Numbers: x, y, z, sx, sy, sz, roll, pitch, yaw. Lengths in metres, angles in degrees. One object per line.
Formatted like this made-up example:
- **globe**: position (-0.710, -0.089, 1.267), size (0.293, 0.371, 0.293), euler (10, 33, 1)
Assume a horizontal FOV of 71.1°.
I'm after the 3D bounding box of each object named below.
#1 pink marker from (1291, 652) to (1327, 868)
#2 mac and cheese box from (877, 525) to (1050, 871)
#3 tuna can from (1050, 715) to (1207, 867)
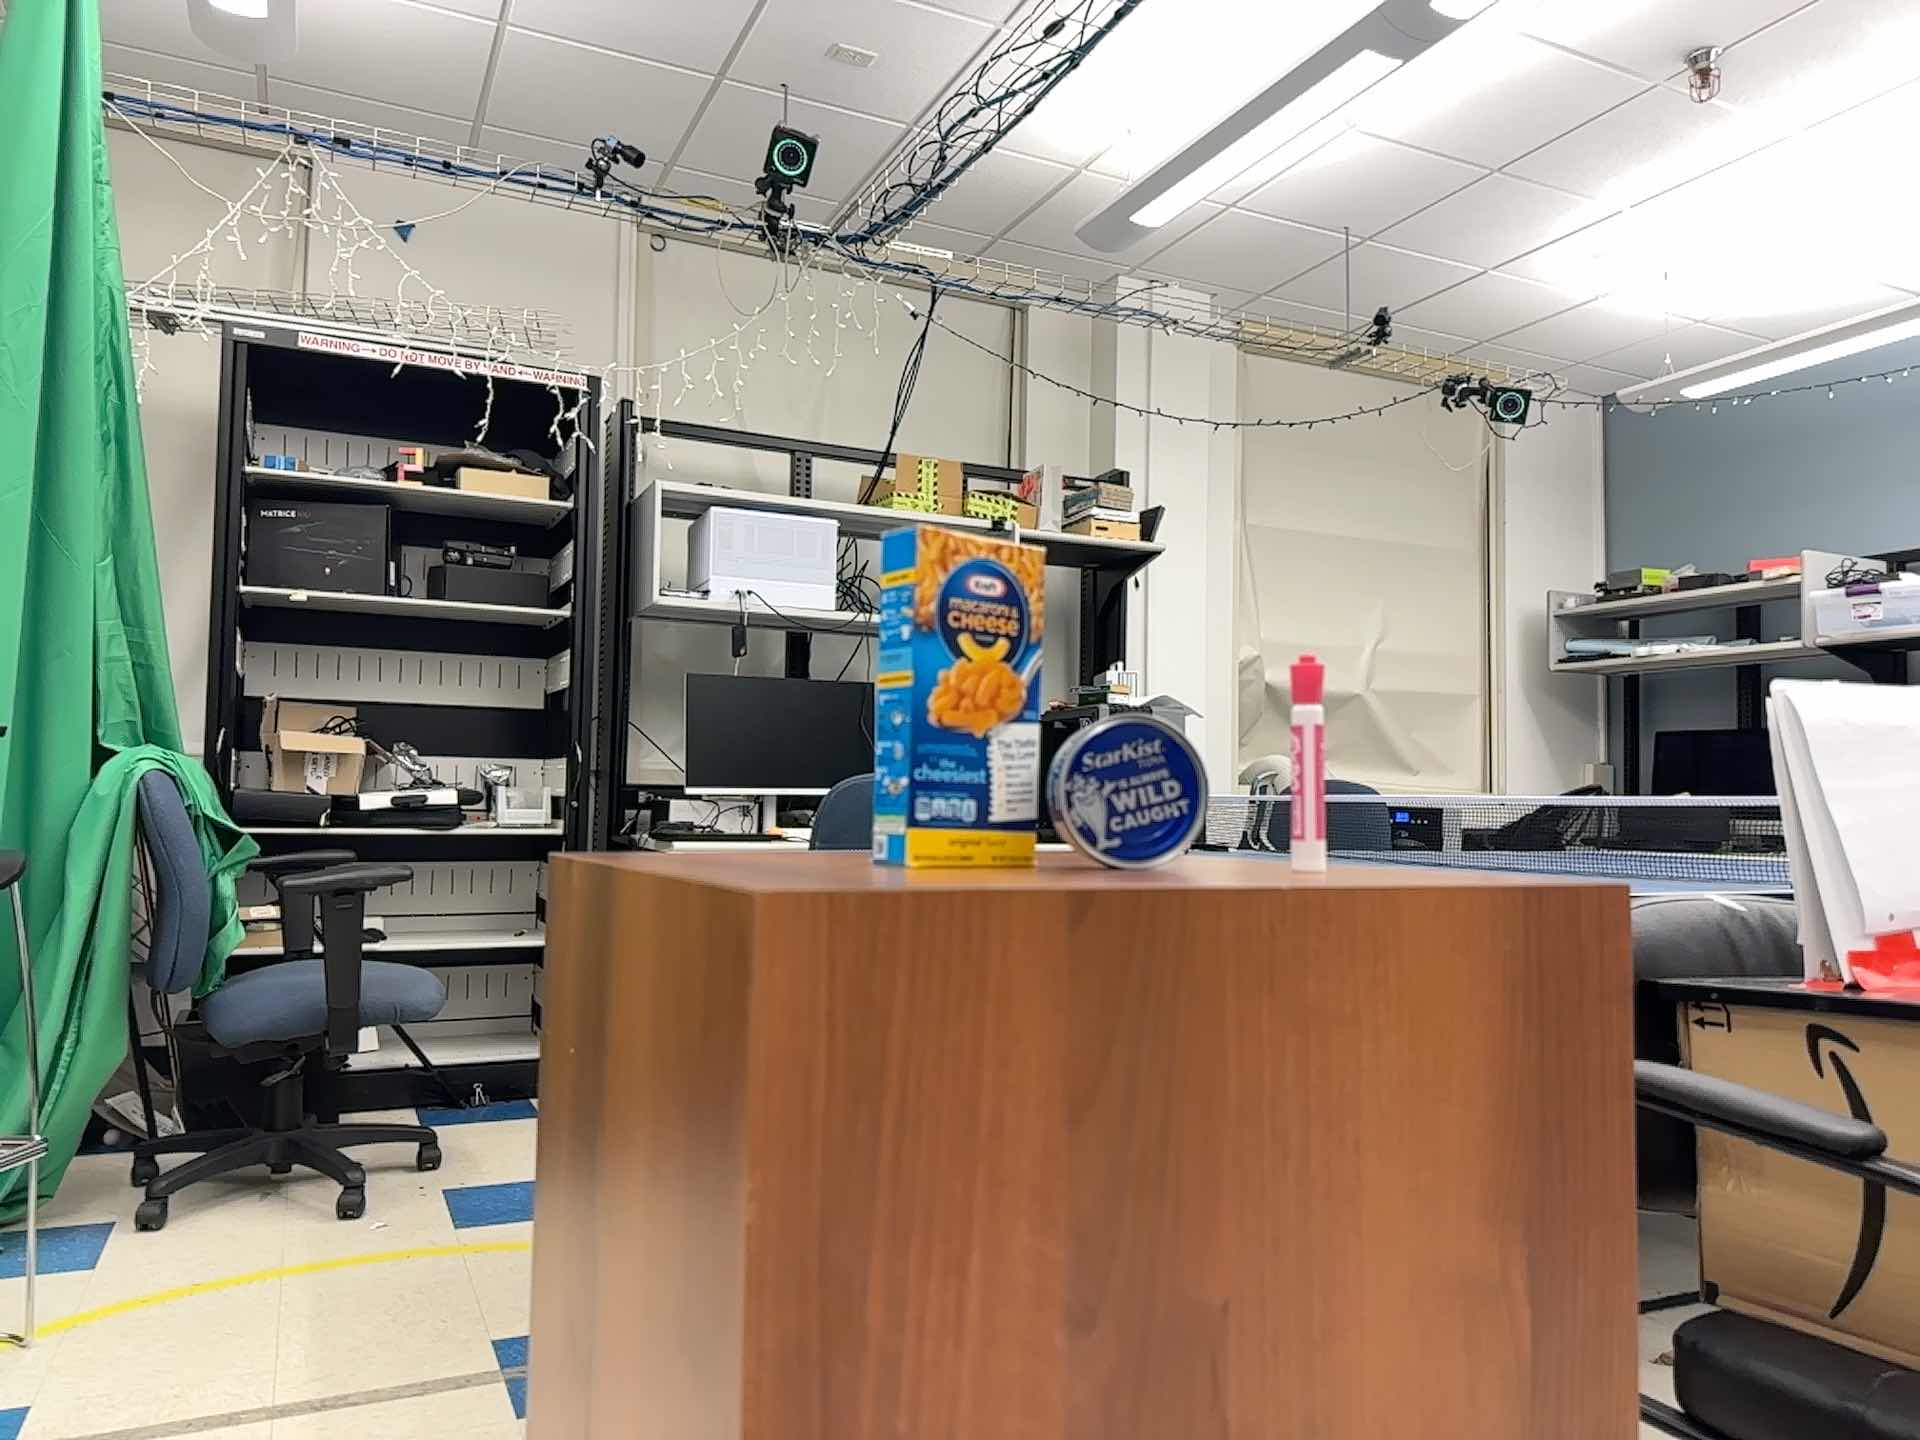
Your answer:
- **pink marker**: position (0.197, 0.022, 0.761), size (0.020, 0.121, 0.020), euler (0, -2, 0)
- **mac and cheese box**: position (0.003, -0.010, 0.748), size (0.088, 0.181, 0.035), euler (2, -2, -33)
- **tuna can**: position (0.094, 0.040, 0.760), size (0.083, 0.083, 0.034), euler (1, -3, -7)
